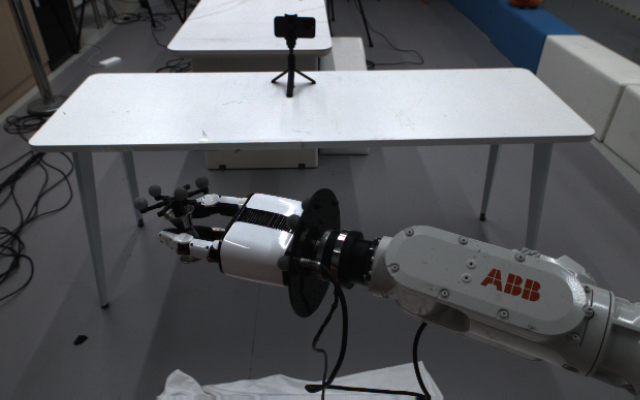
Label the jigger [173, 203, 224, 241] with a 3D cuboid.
[{"bbox_3d":[-0.177,0.046,0.653,0.043,0.071,0.043,-12,25,5],"label":"jigger"}]
